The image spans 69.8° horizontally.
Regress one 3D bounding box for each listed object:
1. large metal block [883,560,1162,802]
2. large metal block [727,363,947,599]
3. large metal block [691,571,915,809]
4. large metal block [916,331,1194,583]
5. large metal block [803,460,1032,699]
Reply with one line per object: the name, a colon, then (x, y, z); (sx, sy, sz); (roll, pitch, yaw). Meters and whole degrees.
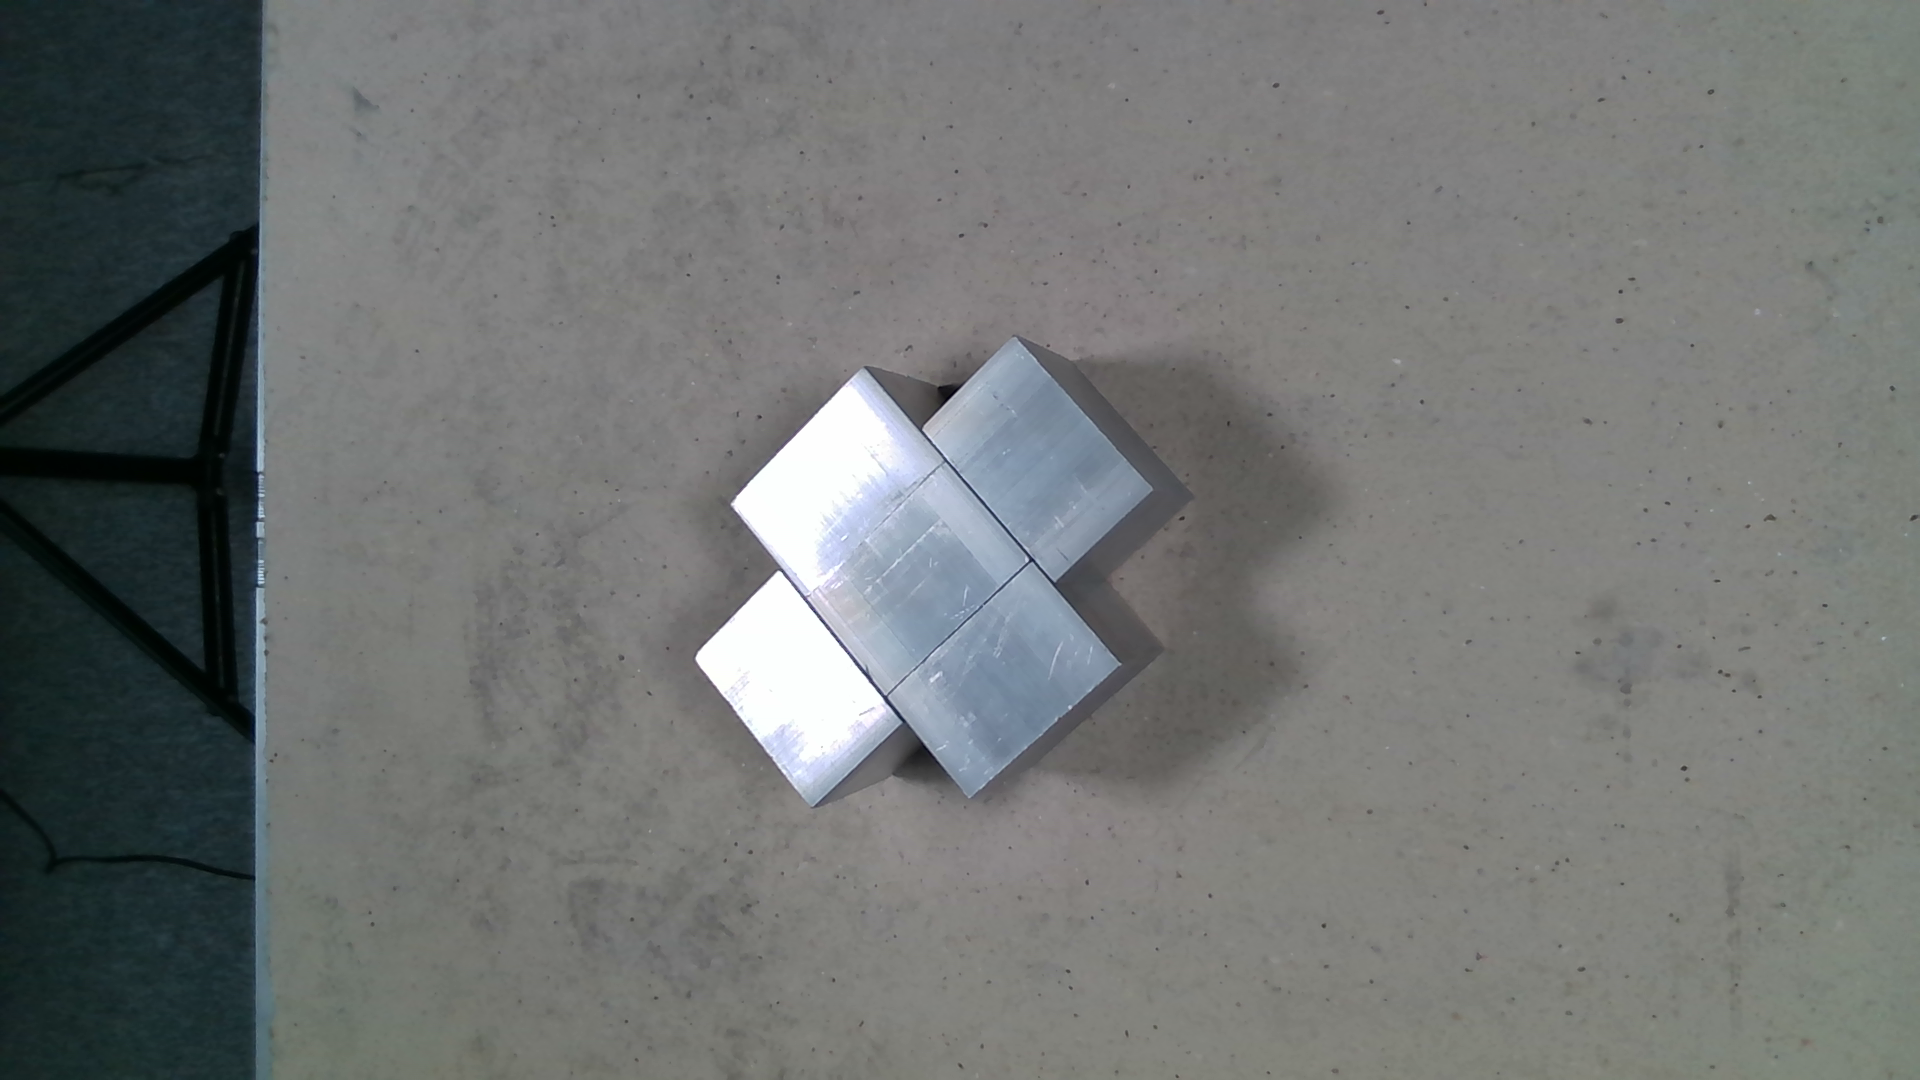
large metal block: (0.028, 0.053, 0.547); (0.080, 0.080, 0.050); (-44, 76, 15)
large metal block: (-0.035, -0.022, 0.570); (0.080, 0.080, 0.050); (-44, 76, 15)
large metal block: (-0.052, 0.058, 0.577); (0.050, 0.080, 0.080); (-44, 76, 15)
large metal block: (0.040, -0.031, 0.542); (0.050, 0.080, 0.080); (-44, 76, 15)
large metal block: (-0.004, 0.015, 0.558); (0.080, 0.080, 0.050); (-44, 76, 15)
